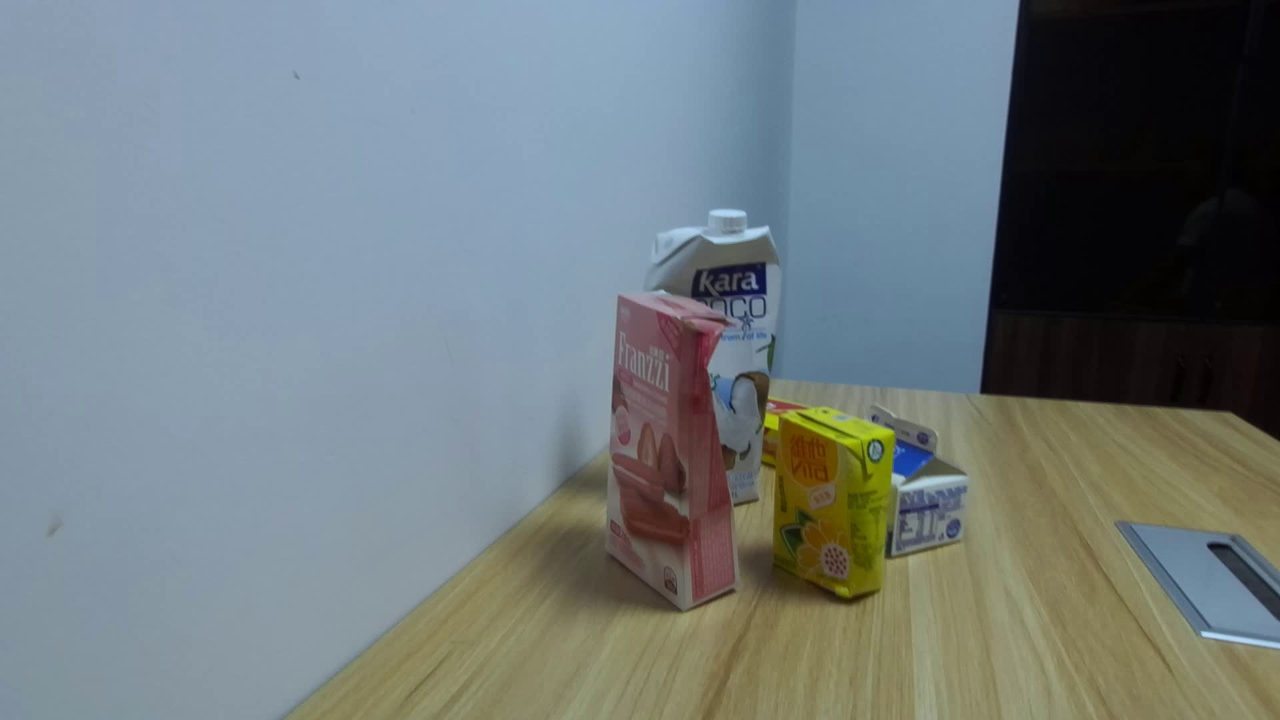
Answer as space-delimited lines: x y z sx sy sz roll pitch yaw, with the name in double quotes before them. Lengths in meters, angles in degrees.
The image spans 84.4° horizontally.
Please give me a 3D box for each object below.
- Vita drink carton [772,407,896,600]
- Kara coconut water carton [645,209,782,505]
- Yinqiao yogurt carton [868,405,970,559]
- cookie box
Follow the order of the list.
"Vita drink carton" 0.125 0.092 0.455 0.043 0.109 0.076 -7 15 -26
"Kara coconut water carton" 0.059 0.001 0.575 0.115 0.238 0.069 -7 16 -28
"Yinqiao yogurt carton" 0.193 0.085 0.529 0.074 0.092 0.075 -5 16 -24
"cookie box" 0.022 0.054 0.454 0.056 0.184 0.118 -5 14 -27
